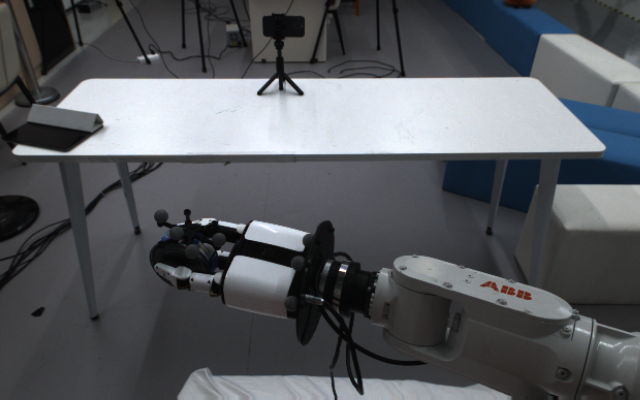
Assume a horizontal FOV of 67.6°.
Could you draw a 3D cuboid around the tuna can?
[{"bbox_3d":[-0.180,0.081,0.649,0.085,0.085,0.034,9,34,10],"label":"tuna can"}]
